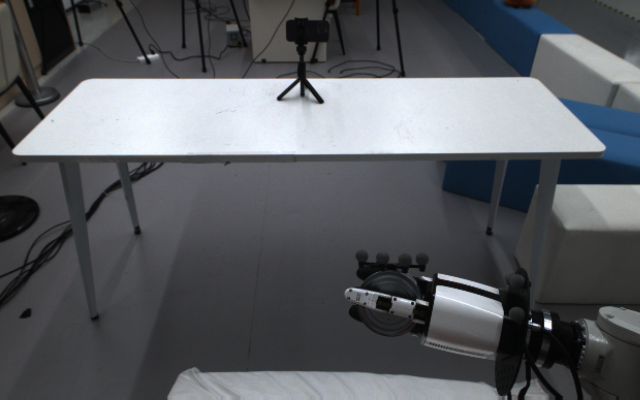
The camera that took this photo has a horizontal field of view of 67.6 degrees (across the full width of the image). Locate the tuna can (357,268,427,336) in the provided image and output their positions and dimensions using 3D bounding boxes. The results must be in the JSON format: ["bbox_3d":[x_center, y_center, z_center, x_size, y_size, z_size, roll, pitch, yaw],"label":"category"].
[{"bbox_3d":[0.095,0.133,0.636,0.085,0.085,0.034,14,-3,16],"label":"tuna can"}]
